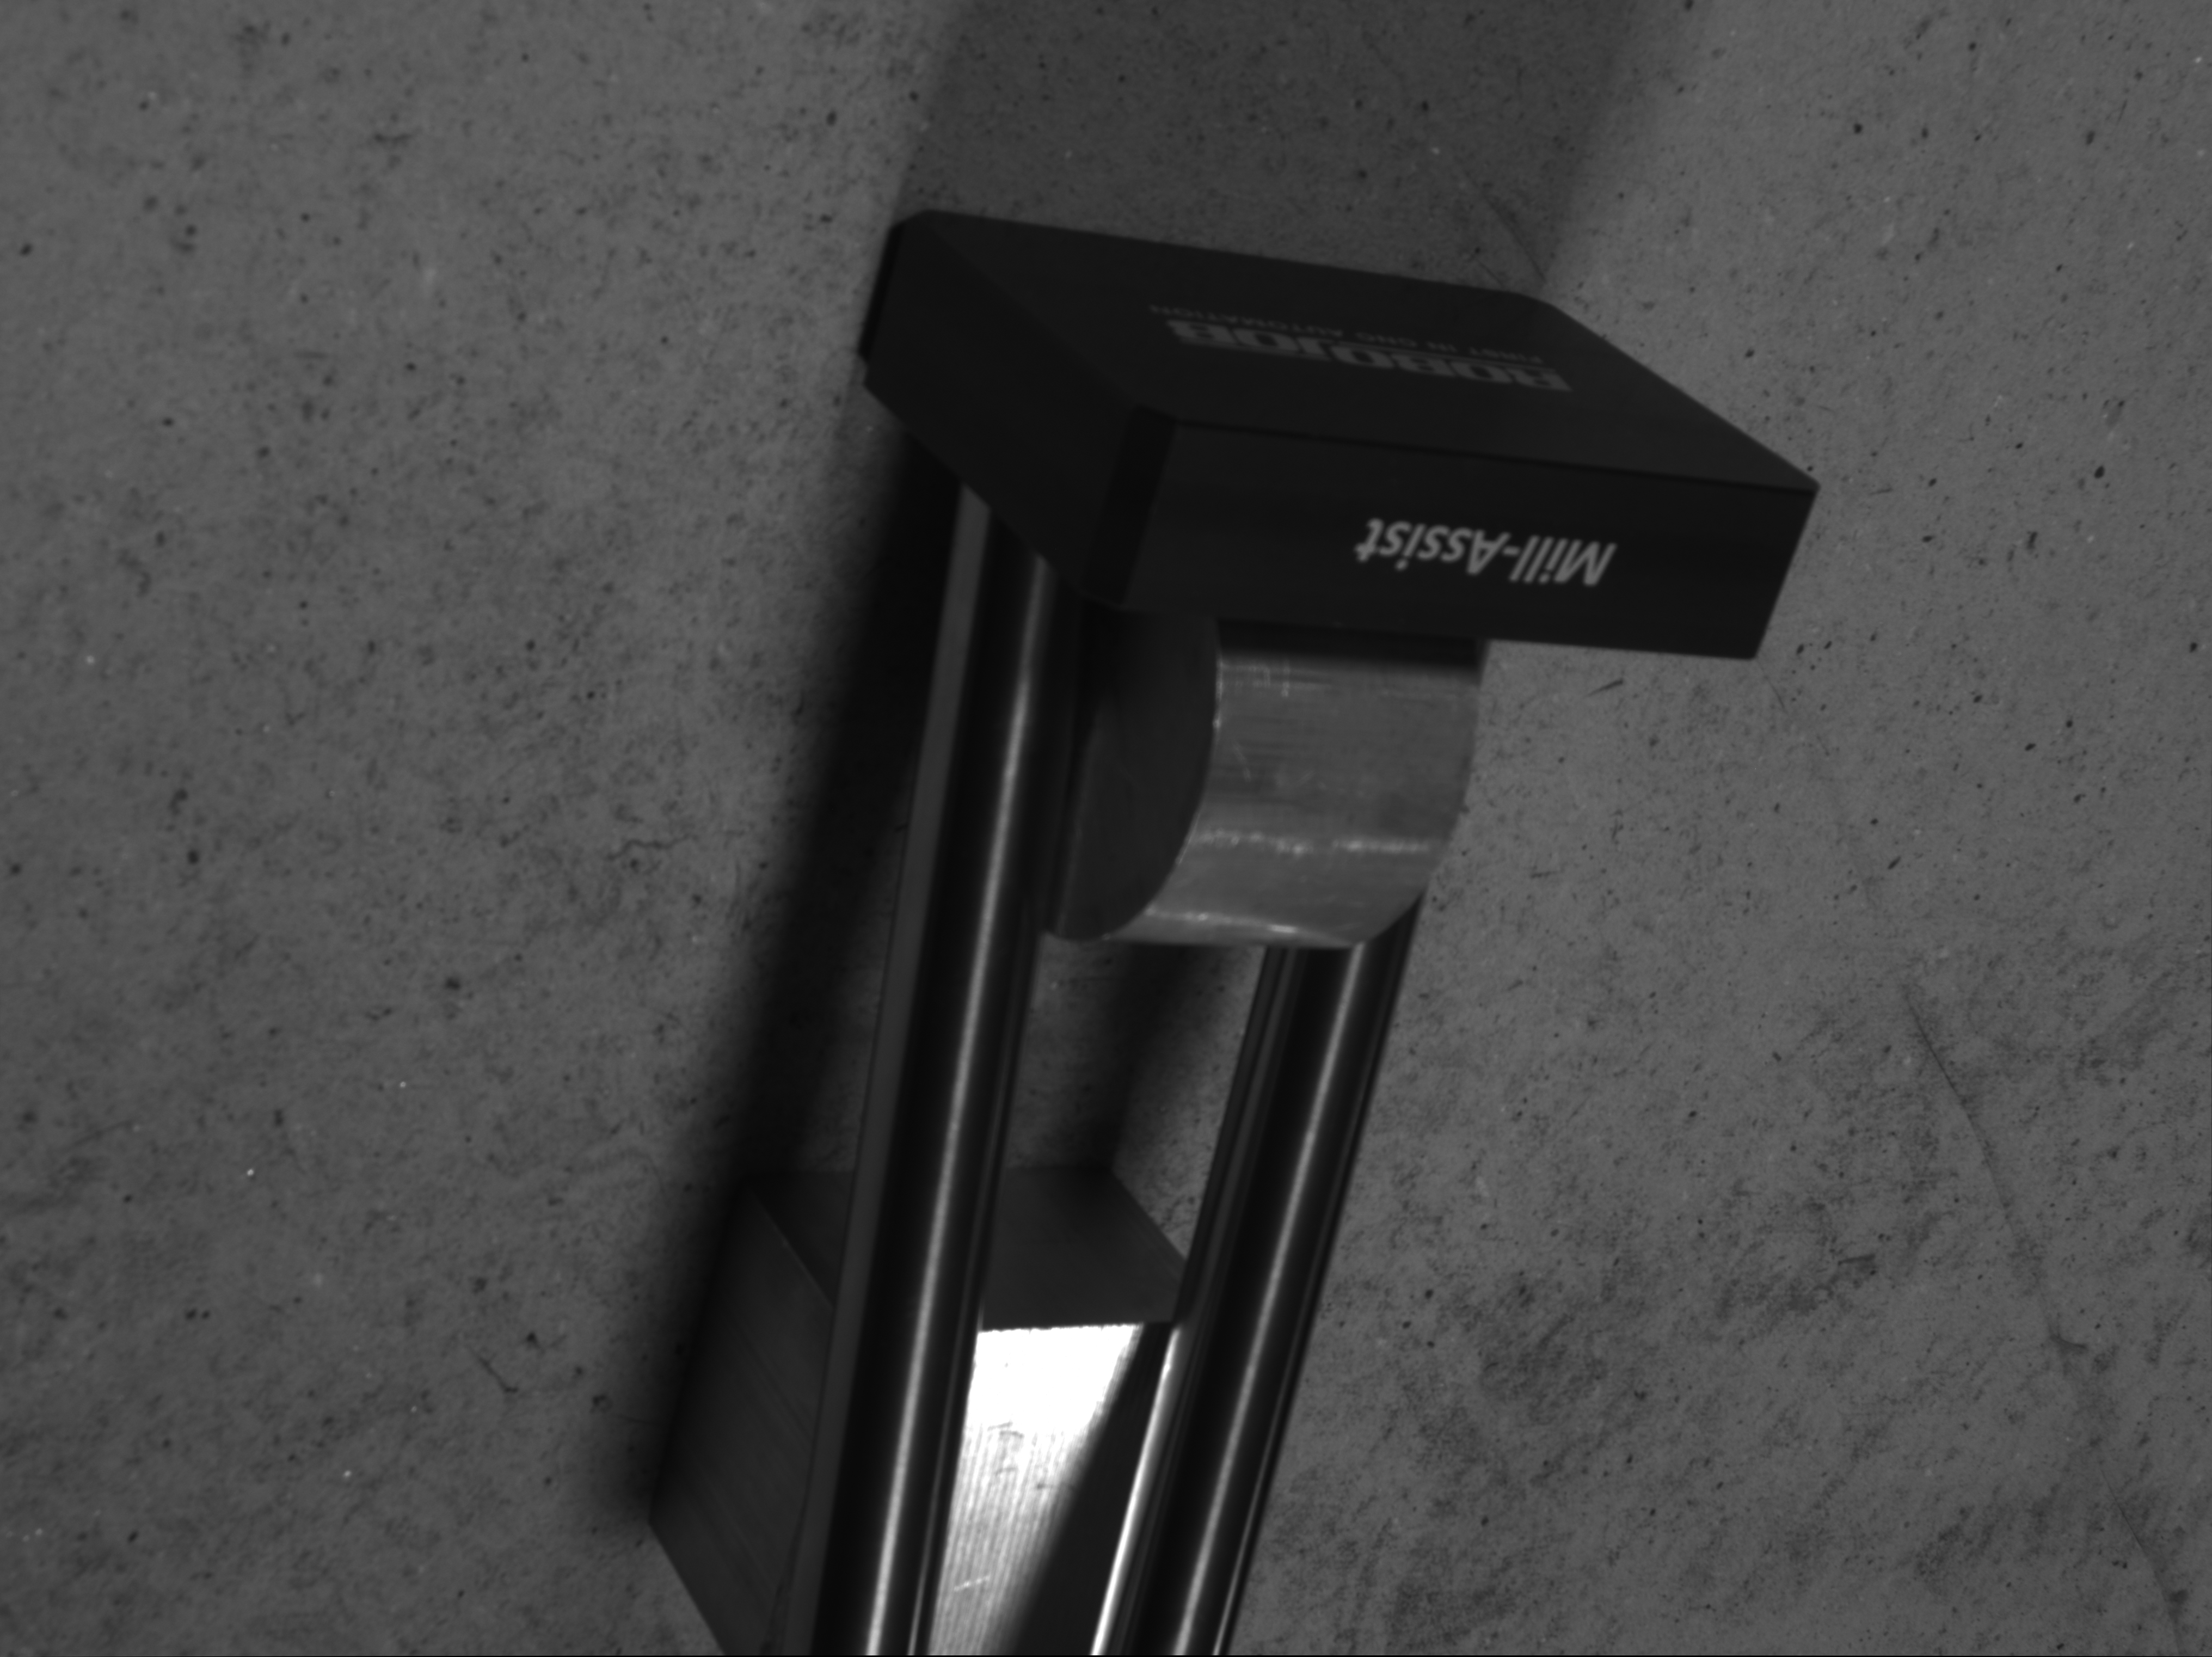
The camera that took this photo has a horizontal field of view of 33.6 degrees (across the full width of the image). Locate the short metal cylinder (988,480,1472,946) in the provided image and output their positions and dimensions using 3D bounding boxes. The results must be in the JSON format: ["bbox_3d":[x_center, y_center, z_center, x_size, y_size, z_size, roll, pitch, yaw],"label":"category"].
[{"bbox_3d":[0.017,-0.020,0.613,0.050,0.080,0.080,2,117,-32],"label":"short metal cylinder"}]

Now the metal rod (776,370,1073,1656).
[{"bbox_3d":[-0.034,0.071,0.615,0.025,0.025,0.300,2,102,-31],"label":"metal rod"}]

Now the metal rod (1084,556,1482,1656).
[{"bbox_3d":[0.027,0.074,0.652,0.025,0.025,0.300,9,98,-34],"label":"metal rod"}]

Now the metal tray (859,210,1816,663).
[{"bbox_3d":[0.037,-0.063,0.591,0.130,0.090,0.030,2,117,-31],"label":"metal tray"}]

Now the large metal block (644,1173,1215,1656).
[{"bbox_3d":[-0.032,0.112,0.683,0.080,0.050,0.080,2,117,-31],"label":"large metal block"}]
